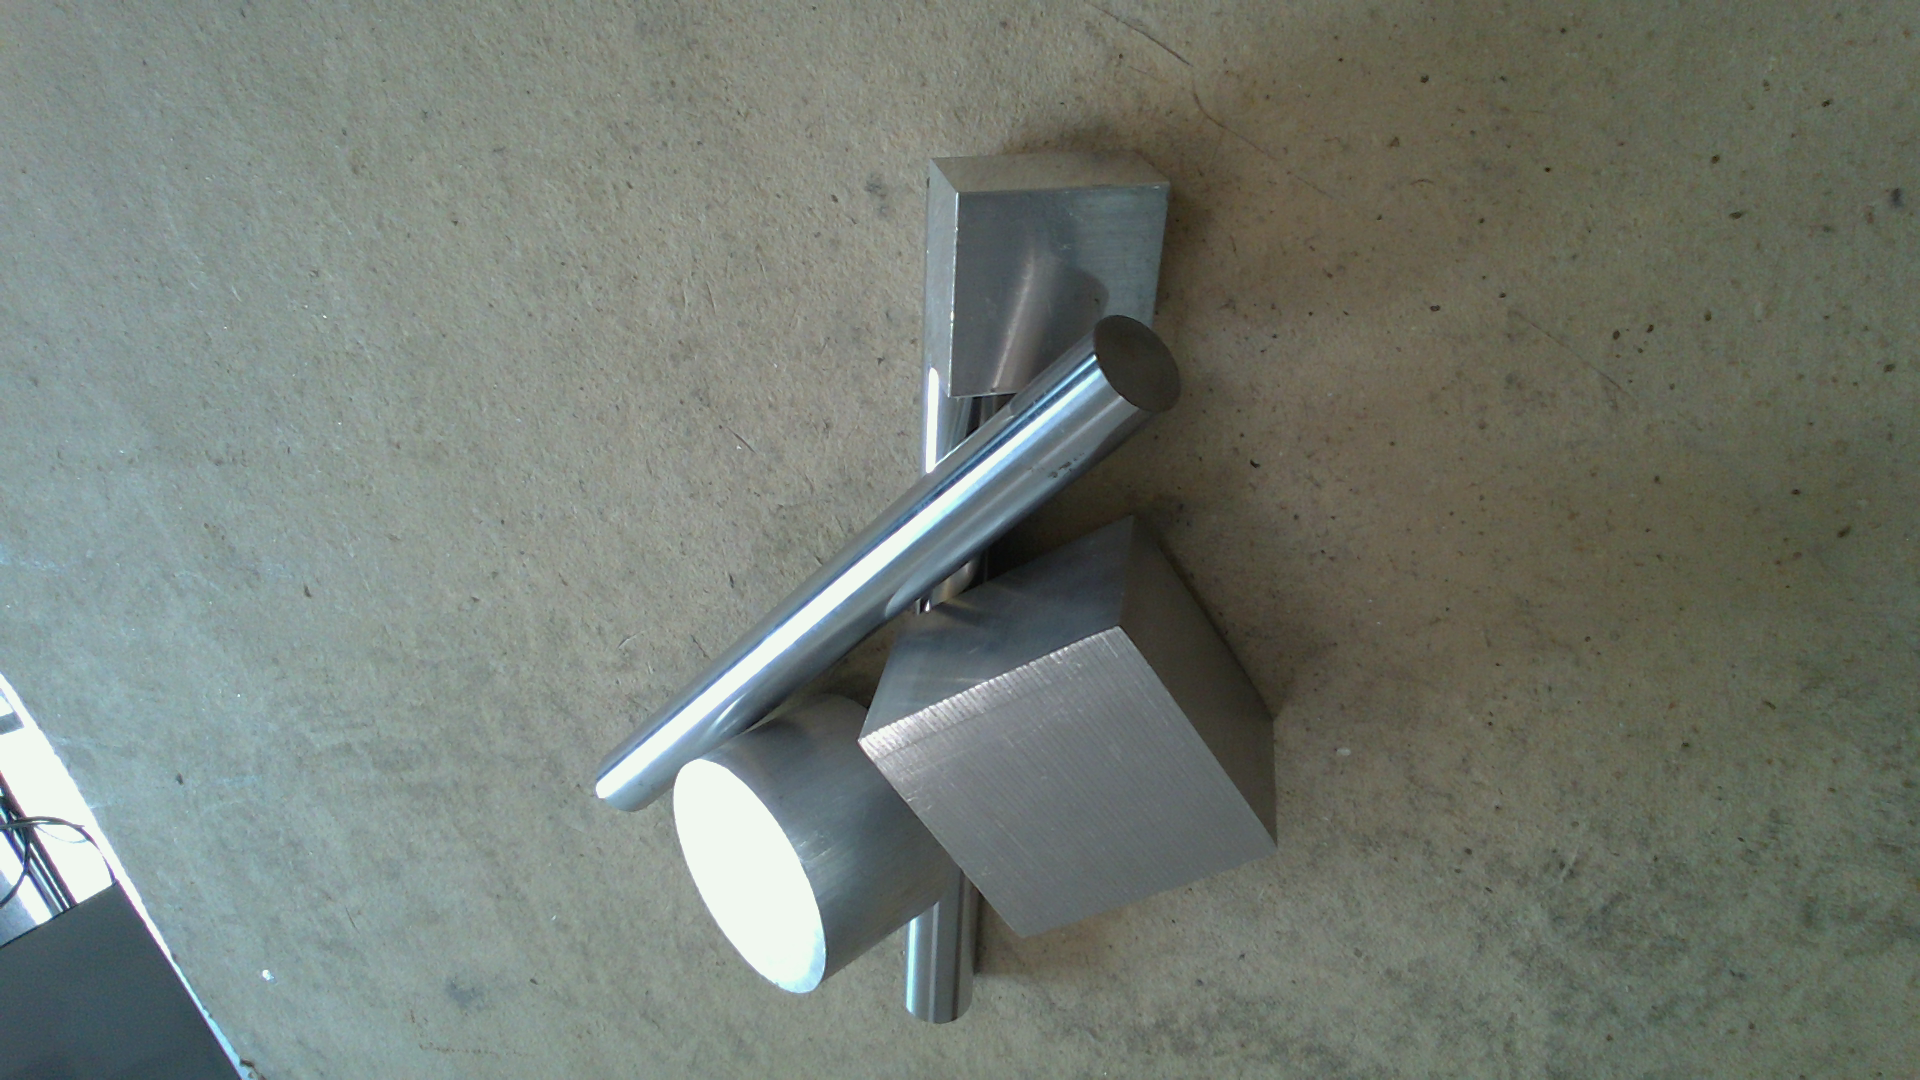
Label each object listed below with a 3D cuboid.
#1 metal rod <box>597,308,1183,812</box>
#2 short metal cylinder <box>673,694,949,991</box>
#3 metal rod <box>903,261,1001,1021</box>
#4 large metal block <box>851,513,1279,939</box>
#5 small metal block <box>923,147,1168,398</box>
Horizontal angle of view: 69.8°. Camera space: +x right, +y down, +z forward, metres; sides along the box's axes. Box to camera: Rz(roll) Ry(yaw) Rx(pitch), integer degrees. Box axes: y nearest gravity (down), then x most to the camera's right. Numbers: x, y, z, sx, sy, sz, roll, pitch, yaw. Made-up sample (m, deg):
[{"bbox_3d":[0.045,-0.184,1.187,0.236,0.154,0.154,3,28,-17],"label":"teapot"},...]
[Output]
[{"bbox_3d":[-0.042,0.025,0.409,0.025,0.025,0.299,47,136,-5],"label":"metal rod"},{"bbox_3d":[-0.049,0.097,0.447,0.080,0.050,0.080,27,129,39],"label":"short metal cylinder"},{"bbox_3d":[-0.003,0.038,0.417,0.025,0.025,0.300,16,125,19],"label":"metal rod"},{"bbox_3d":[0.031,0.052,0.373,0.080,0.050,0.080,-26,114,24],"label":"large metal block"},{"bbox_3d":[0.019,-0.064,0.327,0.050,0.025,0.050,-6,123,-14],"label":"small metal block"}]
